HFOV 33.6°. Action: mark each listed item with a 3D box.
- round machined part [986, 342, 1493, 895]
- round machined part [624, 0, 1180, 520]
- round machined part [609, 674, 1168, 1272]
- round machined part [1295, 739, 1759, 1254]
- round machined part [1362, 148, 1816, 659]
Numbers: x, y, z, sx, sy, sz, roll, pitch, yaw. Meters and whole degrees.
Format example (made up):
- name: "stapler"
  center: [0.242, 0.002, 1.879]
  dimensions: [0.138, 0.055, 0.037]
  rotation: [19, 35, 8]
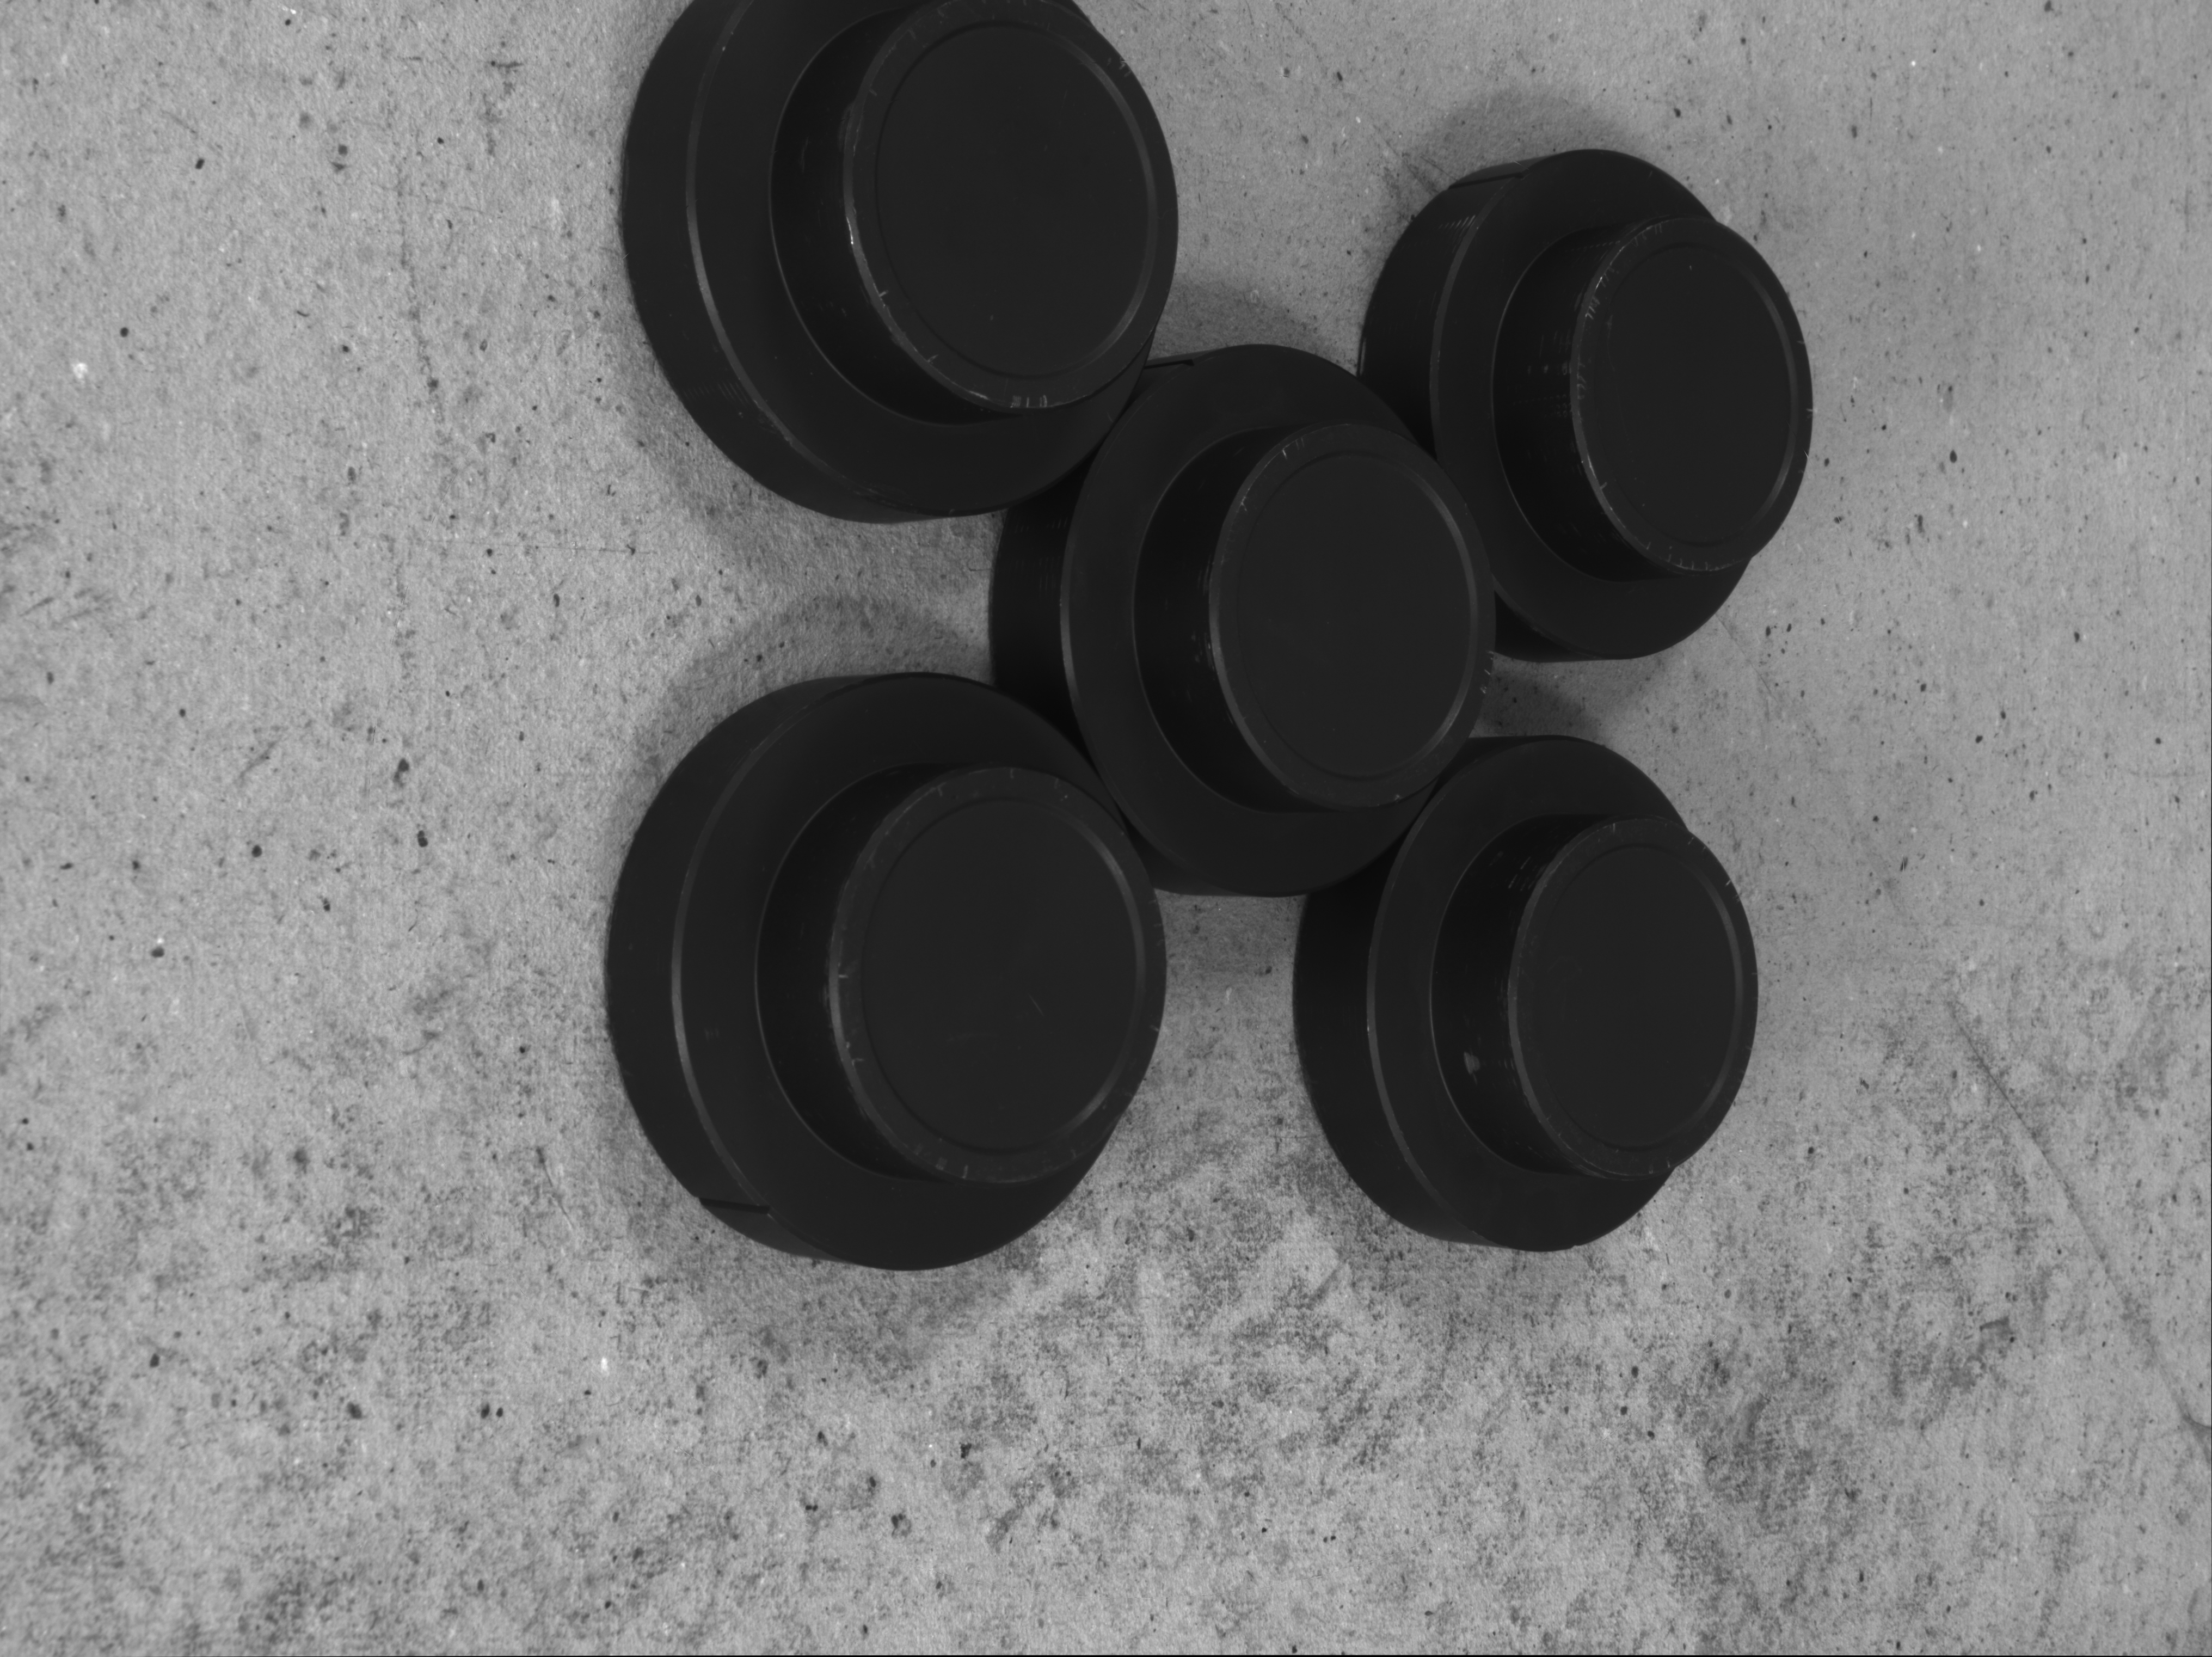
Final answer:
- name: "round machined part"
  center: [0.030, -0.037, 0.650]
  dimensions: [0.098, 0.042, 0.098]
  rotation: [-2, 92, -39]
- name: "round machined part"
  center: [-0.027, -0.100, 0.603]
  dimensions: [0.098, 0.042, 0.098]
  rotation: [0, 90, -40]
- name: "round machined part"
  center: [-0.029, 0.024, 0.600]
  dimensions: [0.098, 0.042, 0.098]
  rotation: [-1, 91, -40]
- name: "round machined part"
  center: [0.086, 0.032, 0.696]
  dimensions: [0.098, 0.042, 0.098]
  rotation: [-2, 92, -39]
- name: "round machined part"
  center: [0.099, -0.082, 0.706]
  dimensions: [0.098, 0.042, 0.098]
  rotation: [-2, 92, -39]
